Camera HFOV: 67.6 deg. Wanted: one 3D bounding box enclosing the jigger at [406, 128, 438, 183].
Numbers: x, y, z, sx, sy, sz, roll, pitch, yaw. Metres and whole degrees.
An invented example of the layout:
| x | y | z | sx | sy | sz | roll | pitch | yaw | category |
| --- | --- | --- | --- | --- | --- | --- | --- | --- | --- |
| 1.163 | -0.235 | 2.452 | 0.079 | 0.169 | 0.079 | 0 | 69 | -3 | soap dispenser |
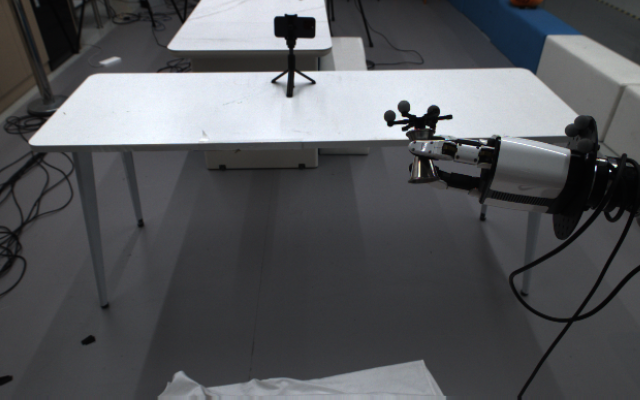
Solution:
| x | y | z | sx | sy | sz | roll | pitch | yaw | category |
| --- | --- | --- | --- | --- | --- | --- | --- | --- | --- |
| 0.139 | -0.060 | 0.659 | 0.043 | 0.071 | 0.043 | -2 | -7 | 0 | jigger |
